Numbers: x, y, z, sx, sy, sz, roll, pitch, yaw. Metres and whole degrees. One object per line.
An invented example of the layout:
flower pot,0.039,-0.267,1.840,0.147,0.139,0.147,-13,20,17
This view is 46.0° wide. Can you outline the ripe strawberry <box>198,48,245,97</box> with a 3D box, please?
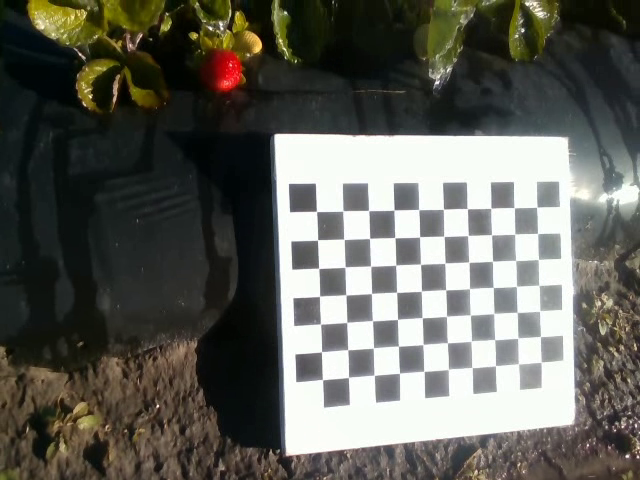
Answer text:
ripe strawberry,-0.062,-0.106,0.493,0.039,0.040,0.039,-11,28,-7
